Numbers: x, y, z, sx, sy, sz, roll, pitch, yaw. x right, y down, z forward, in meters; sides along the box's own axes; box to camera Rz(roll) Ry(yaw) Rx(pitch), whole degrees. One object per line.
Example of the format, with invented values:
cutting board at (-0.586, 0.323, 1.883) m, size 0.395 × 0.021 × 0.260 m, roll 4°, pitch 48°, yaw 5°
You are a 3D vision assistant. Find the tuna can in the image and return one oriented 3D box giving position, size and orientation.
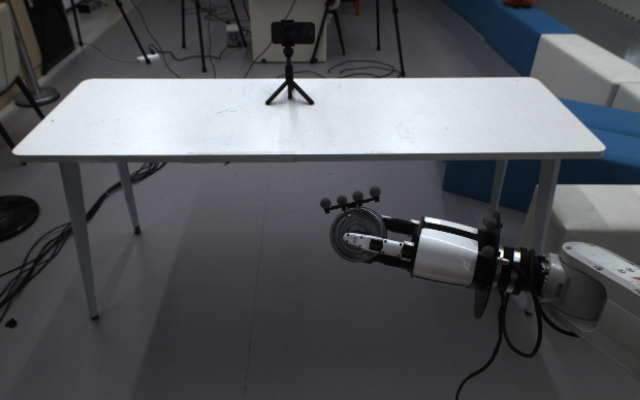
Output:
tuna can at (0.063, 0.059, 0.741) m, size 0.085 × 0.085 × 0.034 m, roll 12°, pitch 3°, yaw 14°
